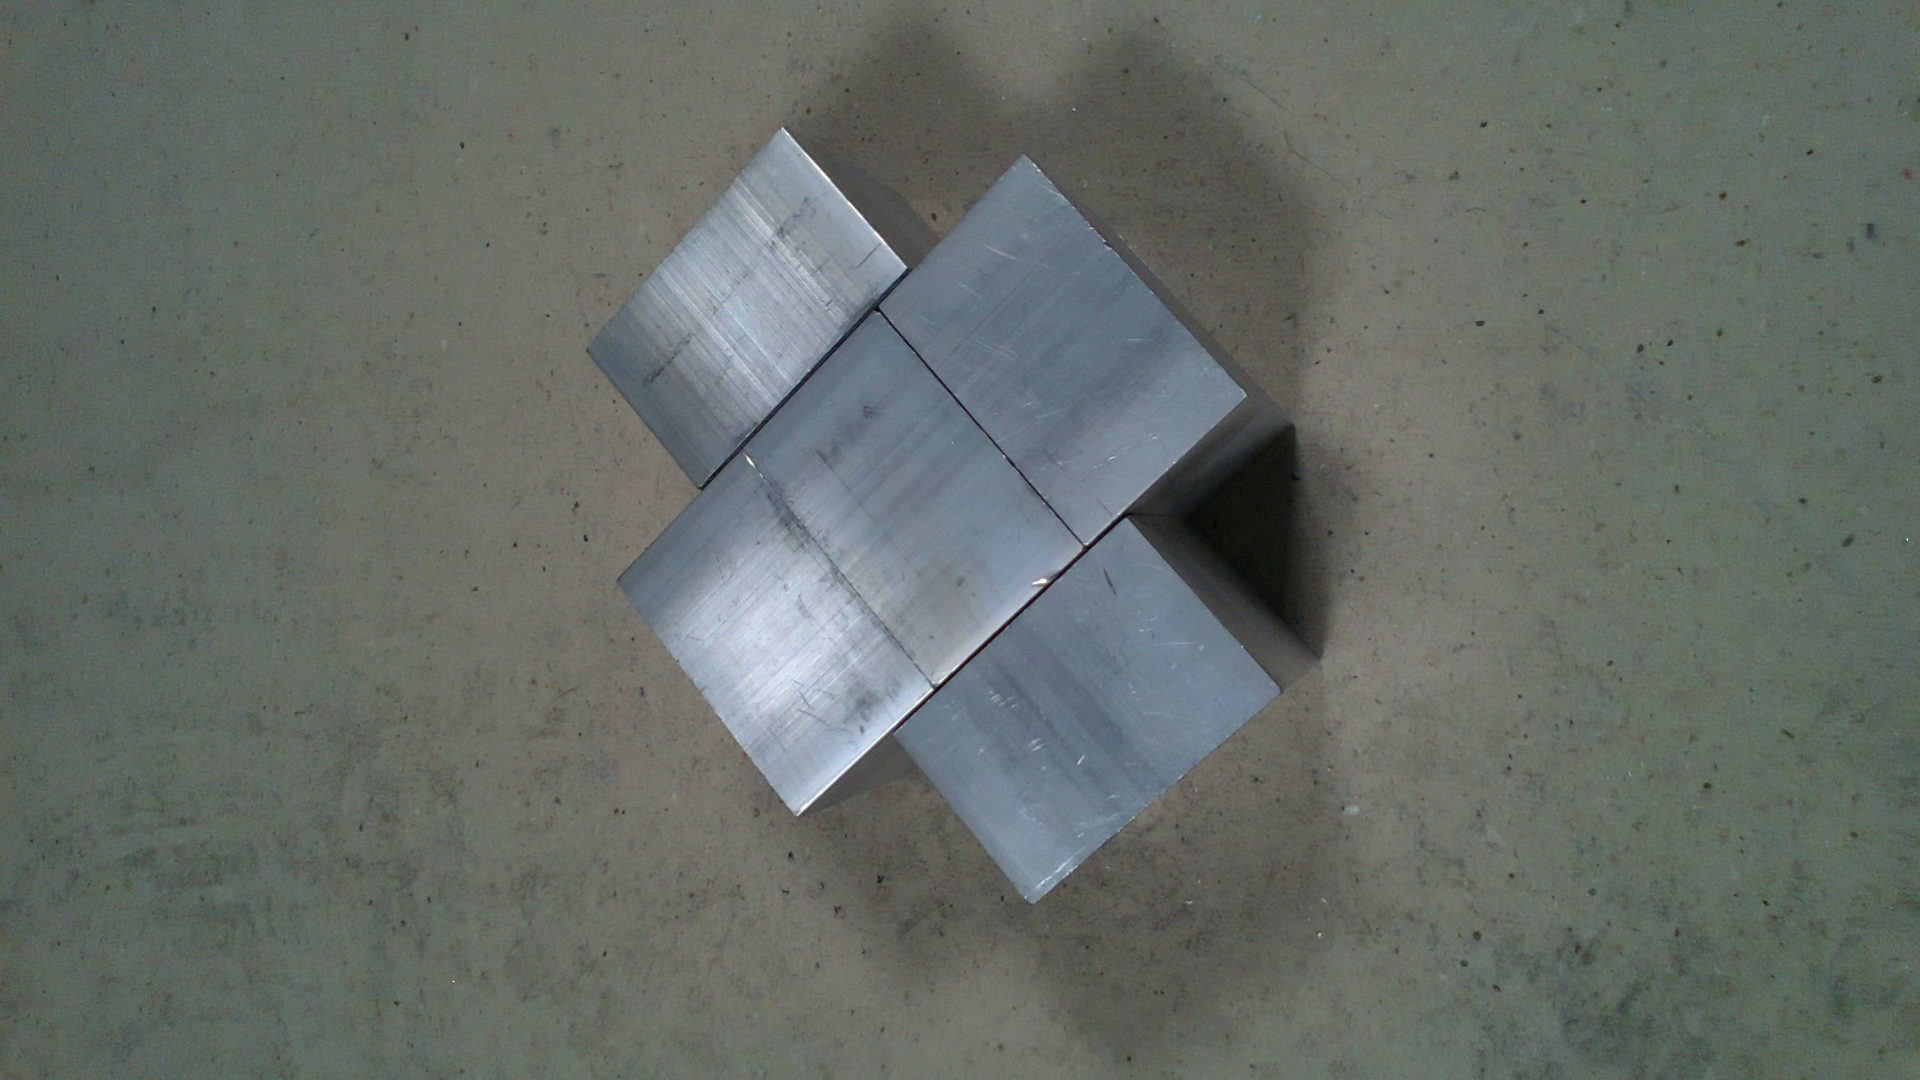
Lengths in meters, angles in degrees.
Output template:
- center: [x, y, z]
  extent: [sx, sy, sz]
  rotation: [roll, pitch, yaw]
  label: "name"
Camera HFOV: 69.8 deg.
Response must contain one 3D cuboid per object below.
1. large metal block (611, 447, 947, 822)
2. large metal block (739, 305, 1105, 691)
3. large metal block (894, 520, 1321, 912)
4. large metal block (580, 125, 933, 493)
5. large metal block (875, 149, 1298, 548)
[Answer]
- center: [-0.034, 0.023, 0.380]
  extent: [0.050, 0.080, 0.080]
  rotation: [-44, 76, 15]
  label: "large metal block"
- center: [0.001, -0.011, 0.367]
  extent: [0.050, 0.080, 0.080]
  rotation: [-44, 76, 15]
  label: "large metal block"
- center: [0.042, 0.041, 0.352]
  extent: [0.080, 0.080, 0.050]
  rotation: [-44, 76, 15]
  label: "large metal block"
- center: [-0.042, -0.057, 0.382]
  extent: [0.080, 0.080, 0.050]
  rotation: [-44, 76, 15]
  label: "large metal block"
- center: [0.036, -0.045, 0.354]
  extent: [0.050, 0.080, 0.080]
  rotation: [-44, 76, 15]
  label: "large metal block"
